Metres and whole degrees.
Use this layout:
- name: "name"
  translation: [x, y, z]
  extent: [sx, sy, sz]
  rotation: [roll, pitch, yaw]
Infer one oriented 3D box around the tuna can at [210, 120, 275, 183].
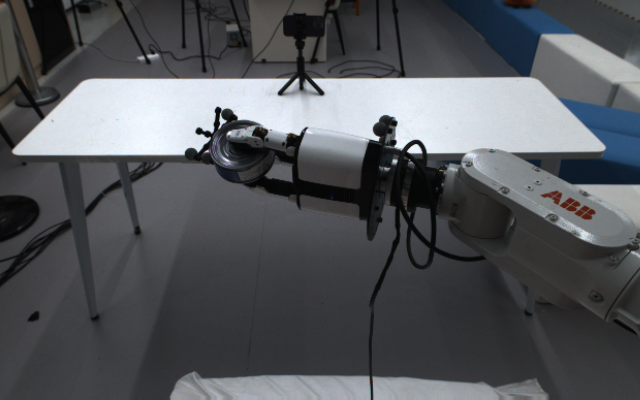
- name: "tuna can"
  translation: [-0.103, -0.062, 0.657]
  extent: [0.085, 0.034, 0.085]
  rotation: [-1, 62, 1]
